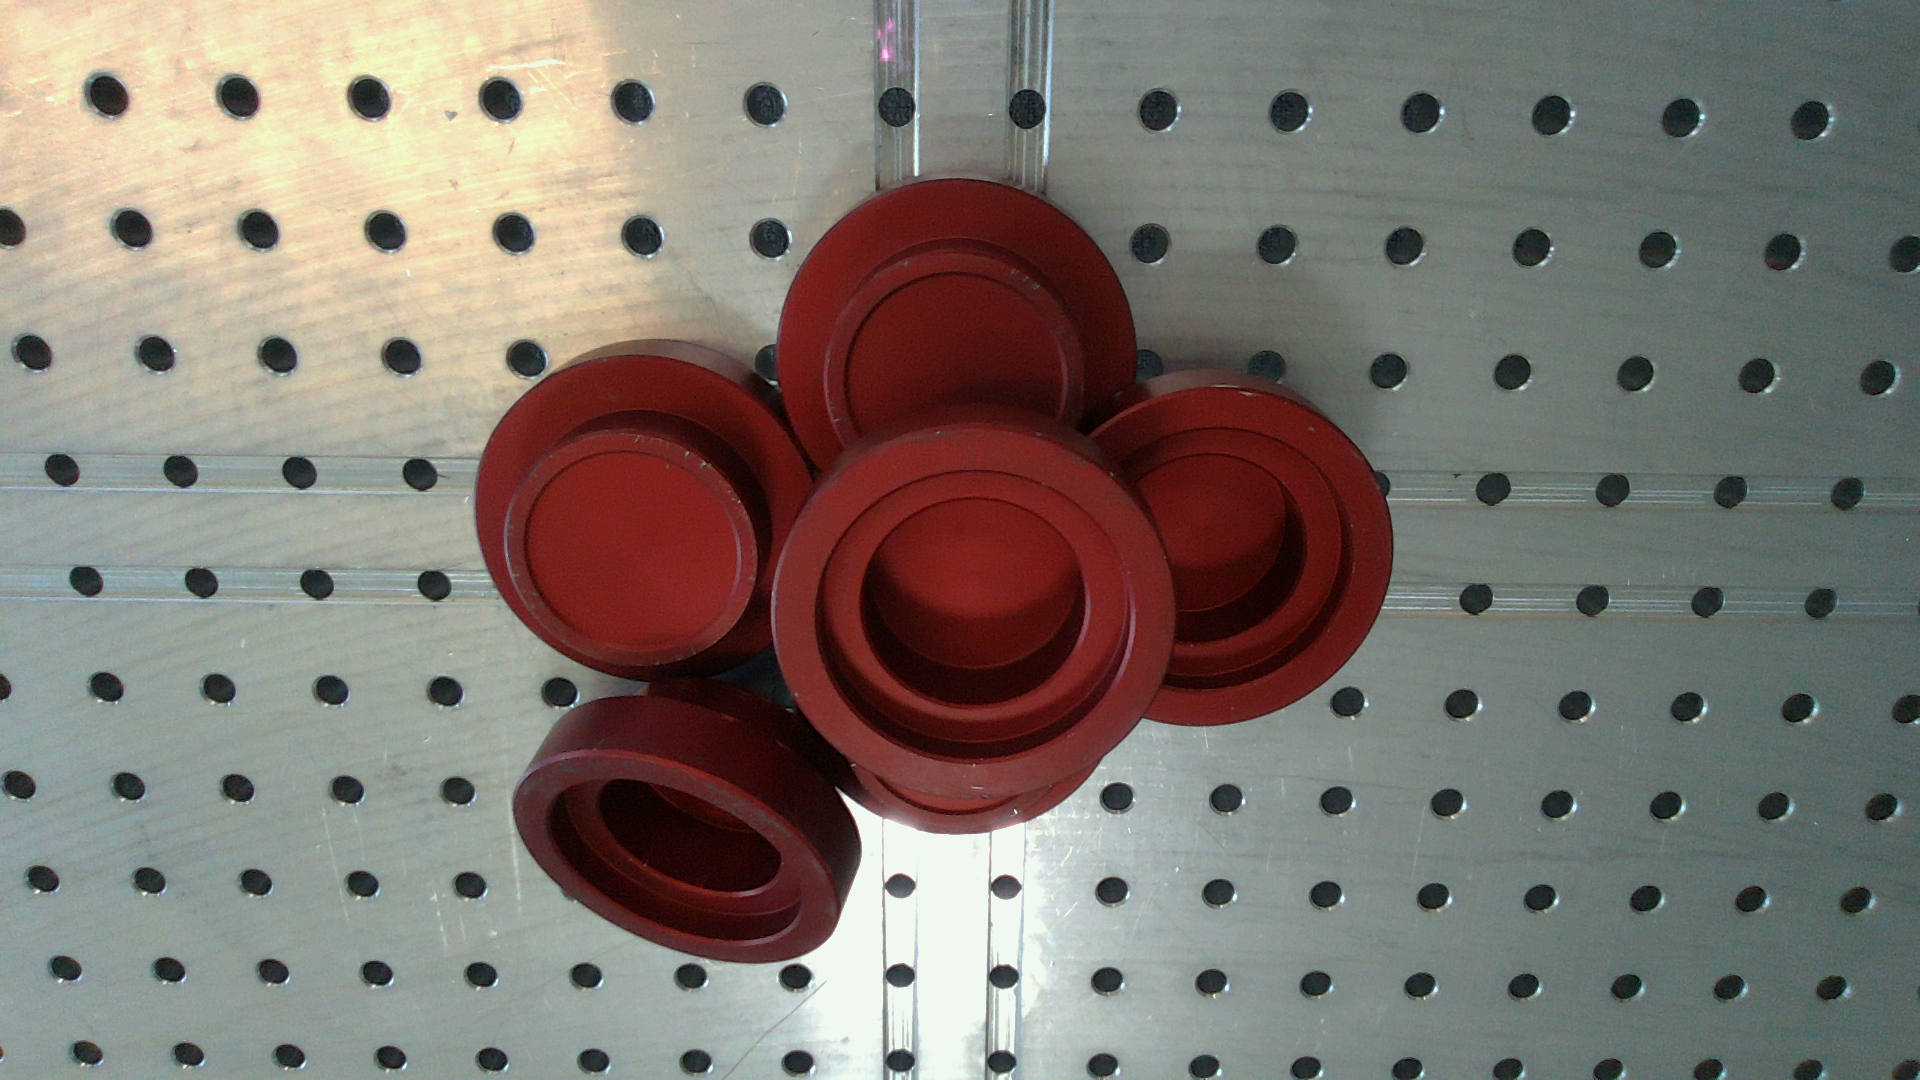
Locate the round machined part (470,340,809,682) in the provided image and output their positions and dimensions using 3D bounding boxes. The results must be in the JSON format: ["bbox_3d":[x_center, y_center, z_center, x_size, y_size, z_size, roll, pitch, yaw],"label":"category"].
[{"bbox_3d":[-0.088,-0.004,0.385,0.098,0.042,0.098,0,110,0],"label":"round machined part"}]

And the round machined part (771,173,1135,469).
[{"bbox_3d":[-0.002,-0.048,0.370,0.098,0.042,0.098,0,110,0],"label":"round machined part"}]

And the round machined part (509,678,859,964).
[{"bbox_3d":[-0.076,0.078,0.402,0.098,0.042,0.098,9,134,10],"label":"round machined part"}]

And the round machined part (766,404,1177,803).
[{"bbox_3d":[0.003,0.013,0.346,0.098,0.042,0.098,0,110,0],"label":"round machined part"}]

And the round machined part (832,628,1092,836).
[{"bbox_3d":[-0.001,0.045,0.404,0.098,0.042,0.098,0,110,0],"label":"round machined part"}]

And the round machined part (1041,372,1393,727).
[{"bbox_3d":[0.067,0.000,0.387,0.098,0.042,0.098,0,110,0],"label":"round machined part"}]
